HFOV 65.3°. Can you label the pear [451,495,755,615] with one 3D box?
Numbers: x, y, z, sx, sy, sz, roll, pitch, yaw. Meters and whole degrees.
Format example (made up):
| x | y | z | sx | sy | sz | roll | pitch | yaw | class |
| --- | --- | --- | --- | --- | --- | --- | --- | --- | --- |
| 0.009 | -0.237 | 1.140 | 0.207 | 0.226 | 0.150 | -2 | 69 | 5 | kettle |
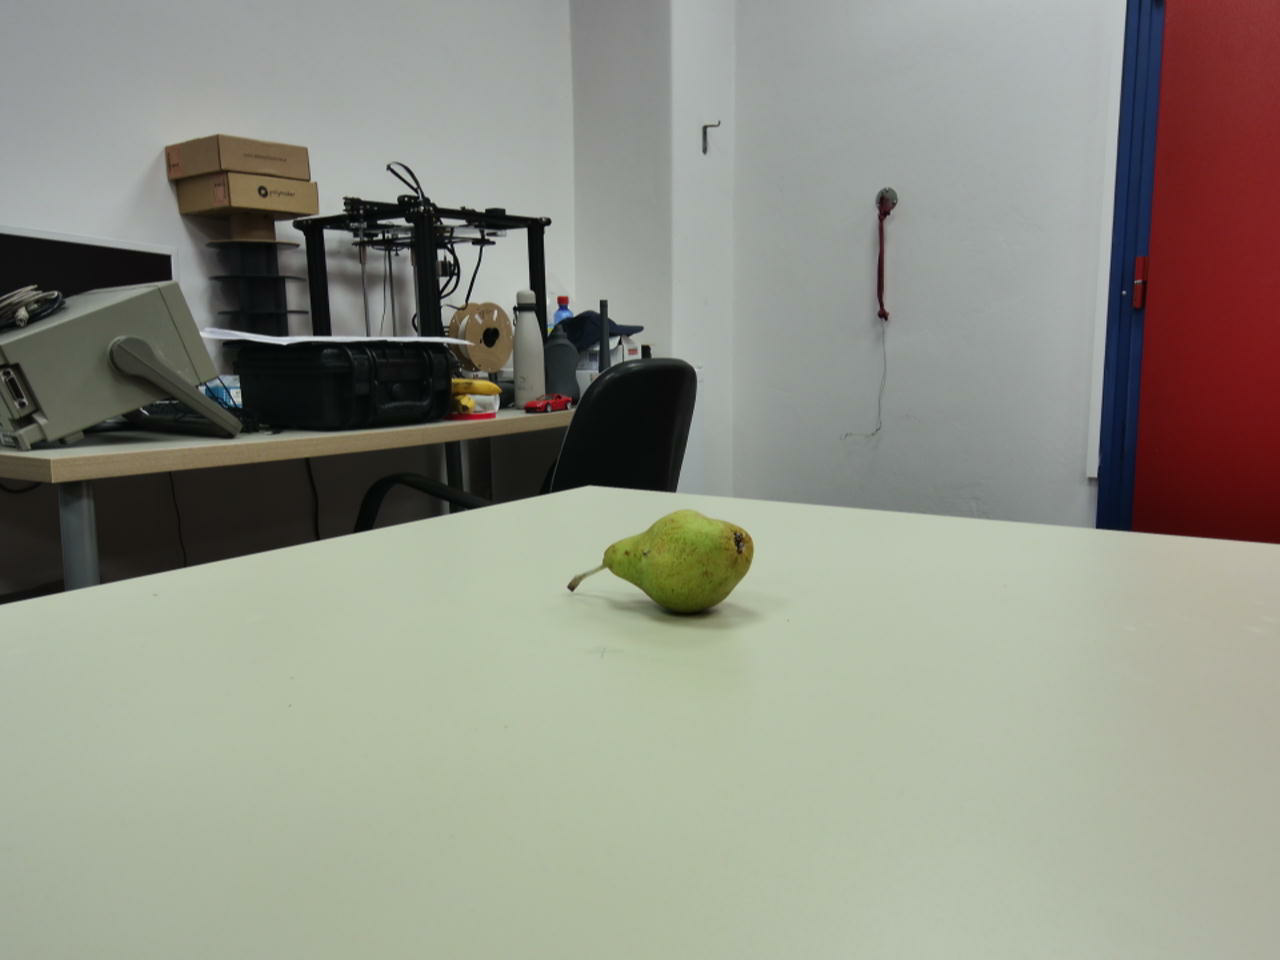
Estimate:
| x | y | z | sx | sy | sz | roll | pitch | yaw | class |
| --- | --- | --- | --- | --- | --- | --- | --- | --- | --- |
| 0.013 | 0.044 | 0.565 | 0.056 | 0.056 | 0.111 | -4 | 7 | -39 | pear |
